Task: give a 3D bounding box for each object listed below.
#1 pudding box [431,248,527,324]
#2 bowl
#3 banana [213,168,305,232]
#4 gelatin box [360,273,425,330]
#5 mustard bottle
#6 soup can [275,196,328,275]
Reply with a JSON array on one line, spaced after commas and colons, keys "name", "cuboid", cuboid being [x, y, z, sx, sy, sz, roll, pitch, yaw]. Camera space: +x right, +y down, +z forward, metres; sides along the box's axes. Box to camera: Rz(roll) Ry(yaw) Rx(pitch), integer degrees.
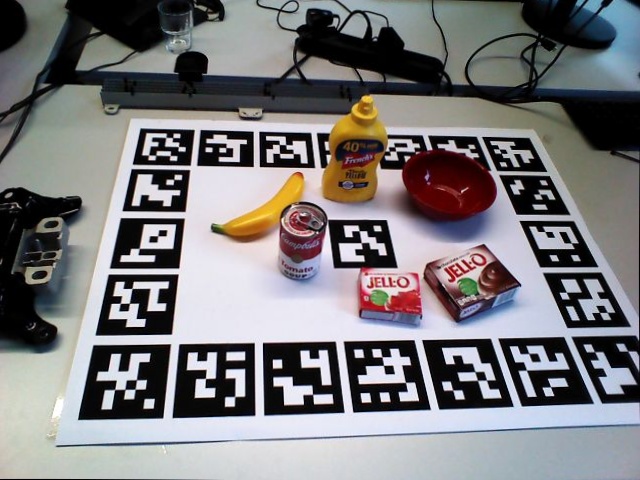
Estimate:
[{"name": "pudding box", "cuboid": [0.238, 0.065, 0.774, 0.113, 0.039, 0.090, -19, 60, -21]}, {"name": "bowl", "cuboid": [0.233, -0.081, 0.892, 0.162, 0.055, 0.160, 2, 49, -3]}, {"name": "banana", "cuboid": [-0.081, -0.064, 0.848, 0.074, 0.039, 0.196, 27, 51, 29]}, {"name": "gelatin box", "cuboid": [0.104, 0.087, 0.745, 0.089, 0.030, 0.073, 6, 52, -1]}, {"name": "mustard bottle", "cuboid": [0.071, -0.150, 0.824, 0.096, 0.192, 0.058, 1, 47, -6]}, {"name": "soup can", "cuboid": [-0.029, -0.005, 0.750, 0.068, 0.102, 0.067, 5, 47, -5]}]
